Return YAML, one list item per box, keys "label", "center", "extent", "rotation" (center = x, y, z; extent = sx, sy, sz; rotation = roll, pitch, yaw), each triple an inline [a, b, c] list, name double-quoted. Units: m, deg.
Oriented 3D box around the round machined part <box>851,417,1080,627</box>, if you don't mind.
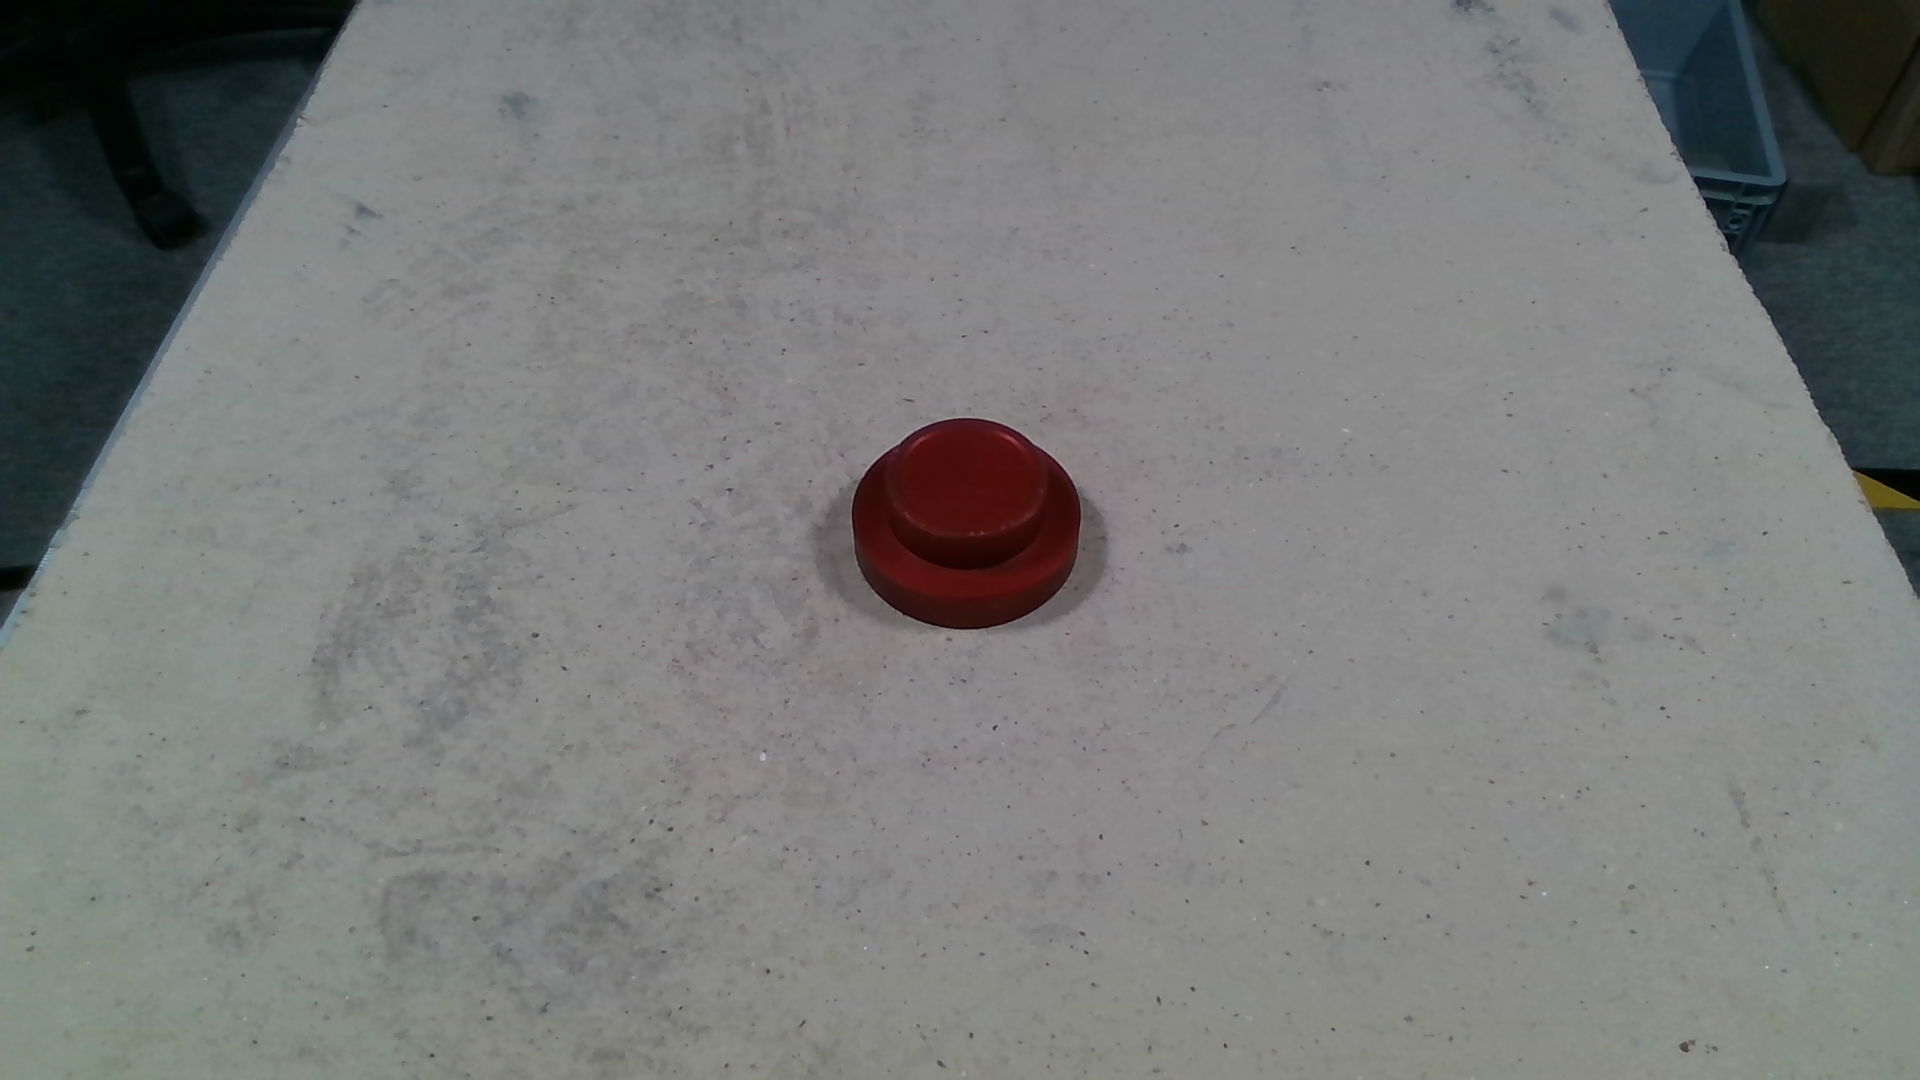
- label: "round machined part"
  center: [0.002, -0.014, 0.587]
  extent: [0.098, 0.042, 0.098]
  rotation: [0, 50, 0]
